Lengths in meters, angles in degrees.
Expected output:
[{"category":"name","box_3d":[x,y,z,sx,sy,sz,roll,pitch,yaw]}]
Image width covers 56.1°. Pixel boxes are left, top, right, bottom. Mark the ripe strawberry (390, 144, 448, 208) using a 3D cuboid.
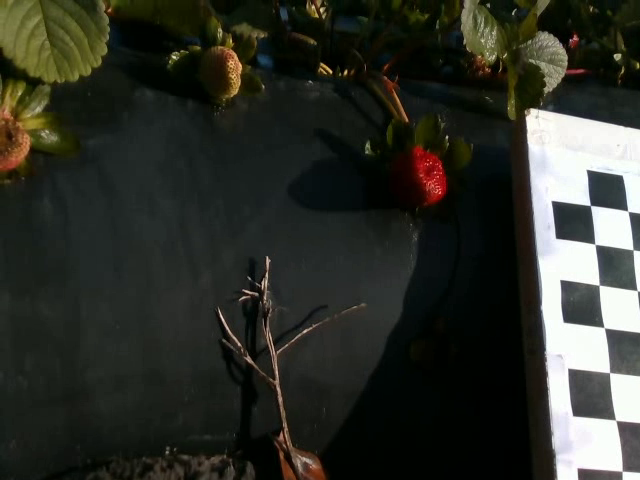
[{"category":"ripe strawberry","box_3d":[0.020,-0.013,0.119,0.015,0.015,0.023,16,15,-7]}]
